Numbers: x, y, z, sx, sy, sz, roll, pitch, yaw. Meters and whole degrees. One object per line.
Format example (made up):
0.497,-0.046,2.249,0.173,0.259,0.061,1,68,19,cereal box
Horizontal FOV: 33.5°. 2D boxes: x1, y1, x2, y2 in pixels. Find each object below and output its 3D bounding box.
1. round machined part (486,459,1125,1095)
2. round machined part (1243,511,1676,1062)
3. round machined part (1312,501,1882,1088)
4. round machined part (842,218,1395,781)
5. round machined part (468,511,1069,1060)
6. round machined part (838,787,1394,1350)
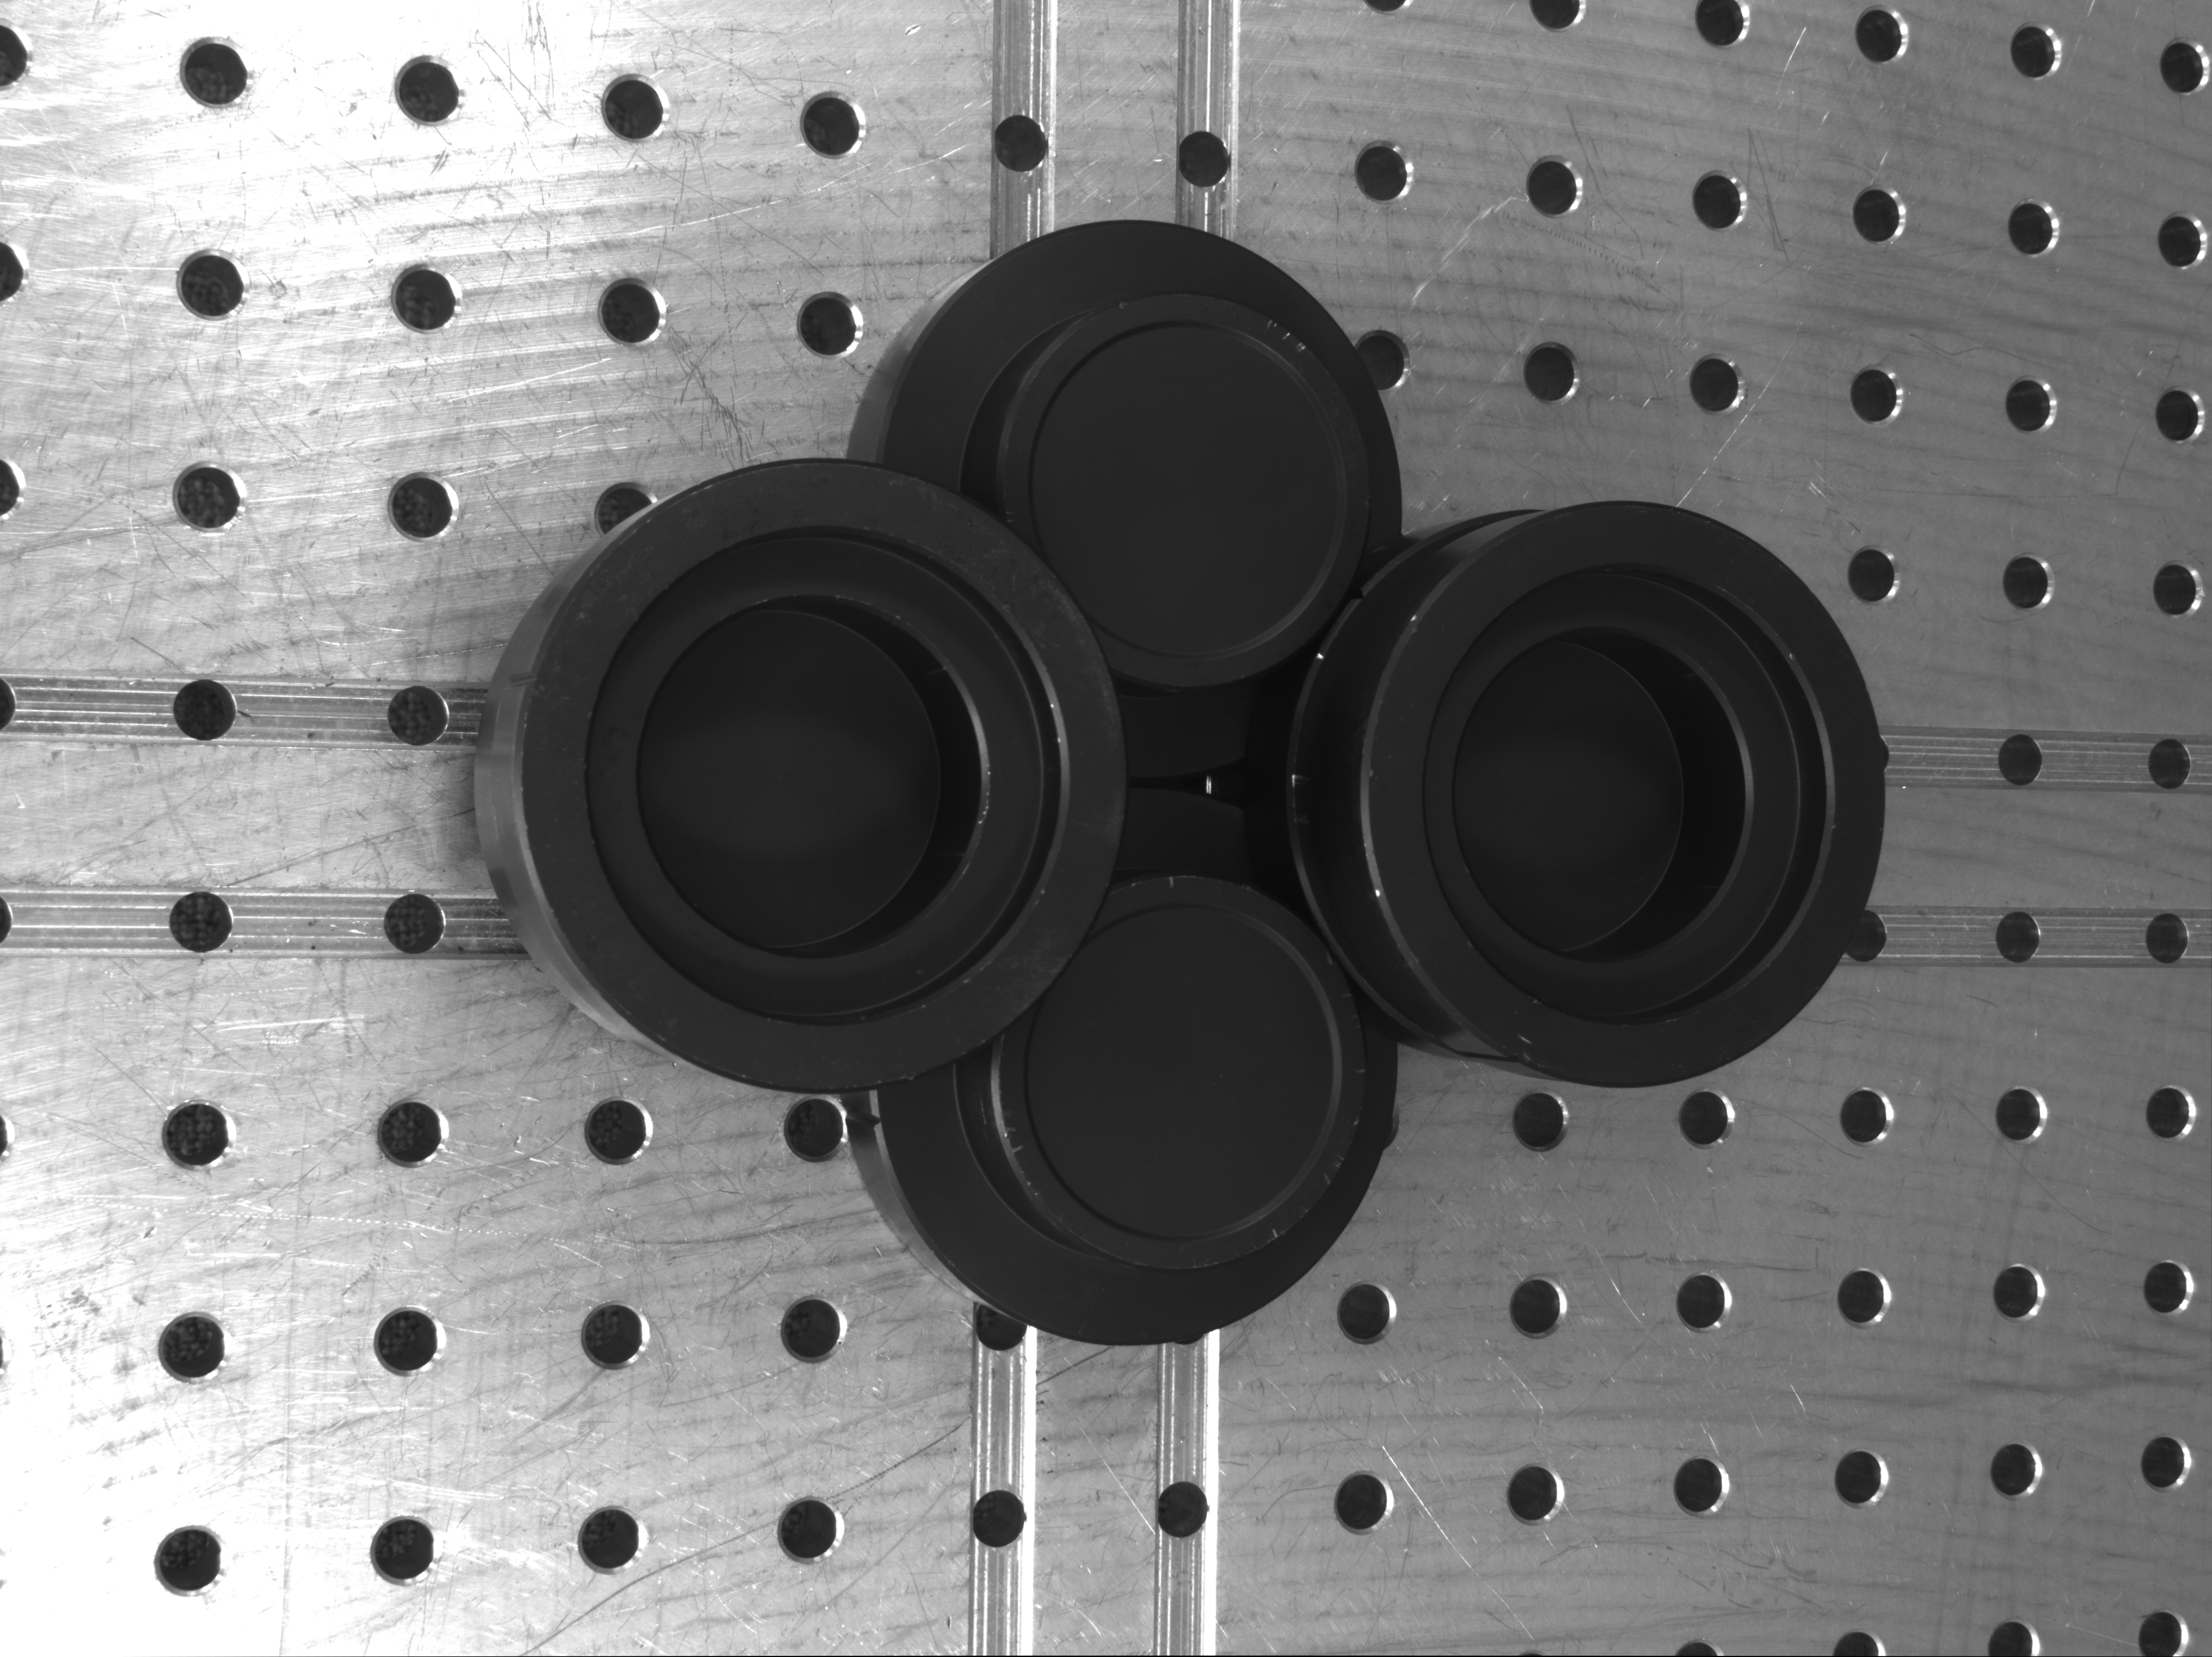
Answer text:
-0.050,-0.008,0.584,0.098,0.042,0.098,0,90,-20,round machined part
0.070,-0.007,0.661,0.098,0.042,0.098,0,90,-20,round machined part
0.080,-0.006,0.631,0.098,0.042,0.098,0,90,-20,round machined part
0.006,-0.057,0.639,0.098,0.042,0.098,0,90,-20,round machined part
-0.058,-0.008,0.615,0.098,0.042,0.098,0,90,-20,round machined part
0.006,0.042,0.638,0.098,0.042,0.098,0,90,-20,round machined part
